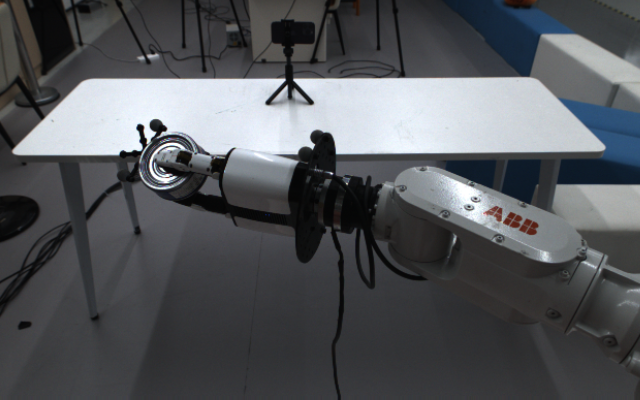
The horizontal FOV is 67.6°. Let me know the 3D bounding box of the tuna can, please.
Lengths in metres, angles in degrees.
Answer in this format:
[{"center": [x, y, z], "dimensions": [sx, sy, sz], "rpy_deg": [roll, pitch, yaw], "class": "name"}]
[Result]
[{"center": [-0.189, -0.045, 0.630], "dimensions": [0.085, 0.034, 0.085], "rpy_deg": [-3, 71, 10], "class": "tuna can"}]
